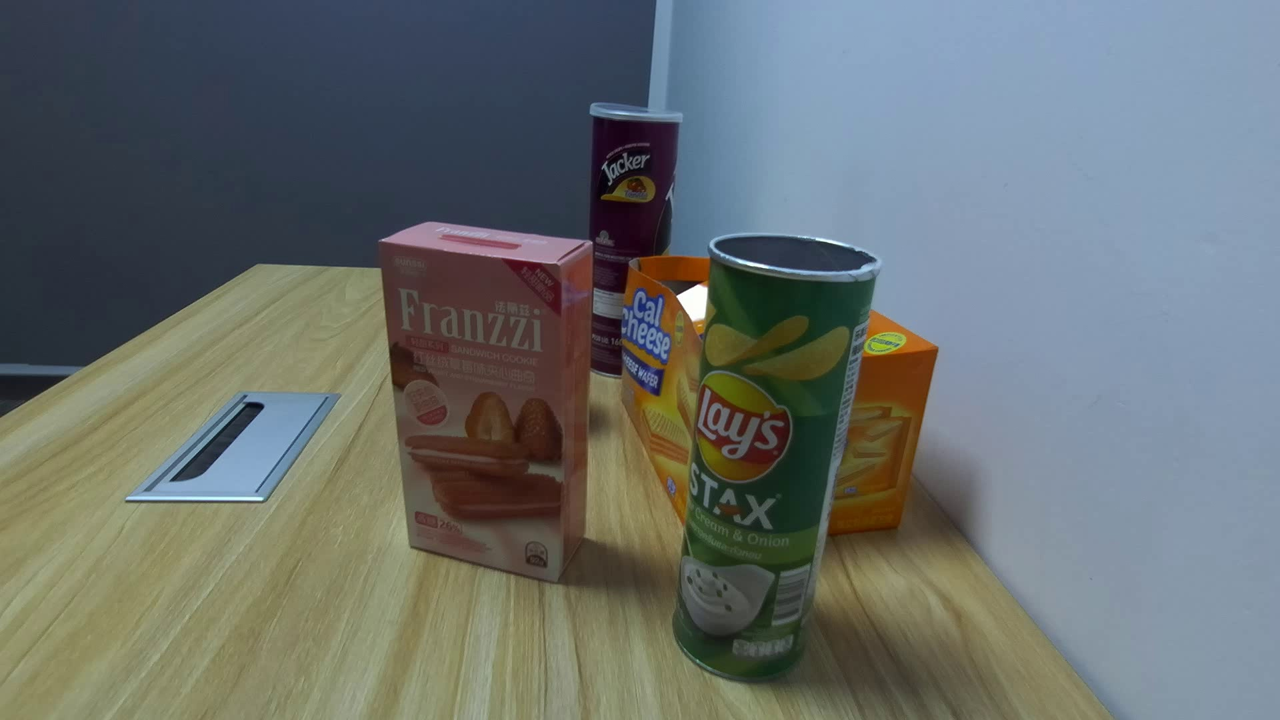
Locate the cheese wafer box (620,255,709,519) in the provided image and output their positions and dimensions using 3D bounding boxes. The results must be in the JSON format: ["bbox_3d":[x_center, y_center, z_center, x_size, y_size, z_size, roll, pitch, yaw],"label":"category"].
[{"bbox_3d":[0.077,0.015,0.518,0.152,0.132,0.229,-3,24,-15],"label":"cheese wafer box"}]

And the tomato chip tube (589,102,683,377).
[{"bbox_3d":[-0.010,-0.104,0.650,0.078,0.234,0.078,4,21,-1],"label":"tomato chip tube"}]

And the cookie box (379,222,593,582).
[{"bbox_3d":[-0.079,0.025,0.385,0.096,0.184,0.048,9,24,13],"label":"cookie box"}]
